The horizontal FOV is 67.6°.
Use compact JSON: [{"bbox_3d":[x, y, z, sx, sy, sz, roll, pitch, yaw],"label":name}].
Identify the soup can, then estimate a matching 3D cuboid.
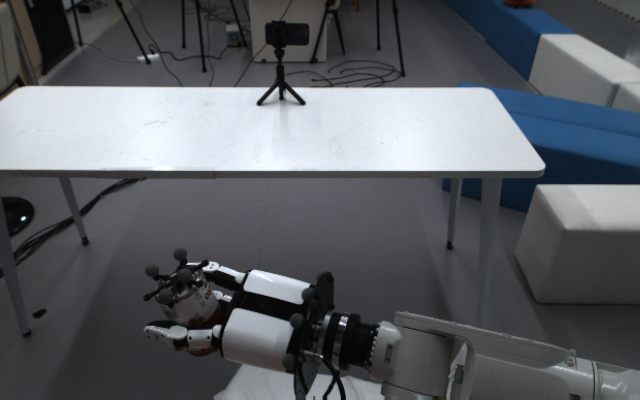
[{"bbox_3d":[-0.164,0.149,0.640,0.067,0.101,0.067,-14,31,8],"label":"soup can"}]
